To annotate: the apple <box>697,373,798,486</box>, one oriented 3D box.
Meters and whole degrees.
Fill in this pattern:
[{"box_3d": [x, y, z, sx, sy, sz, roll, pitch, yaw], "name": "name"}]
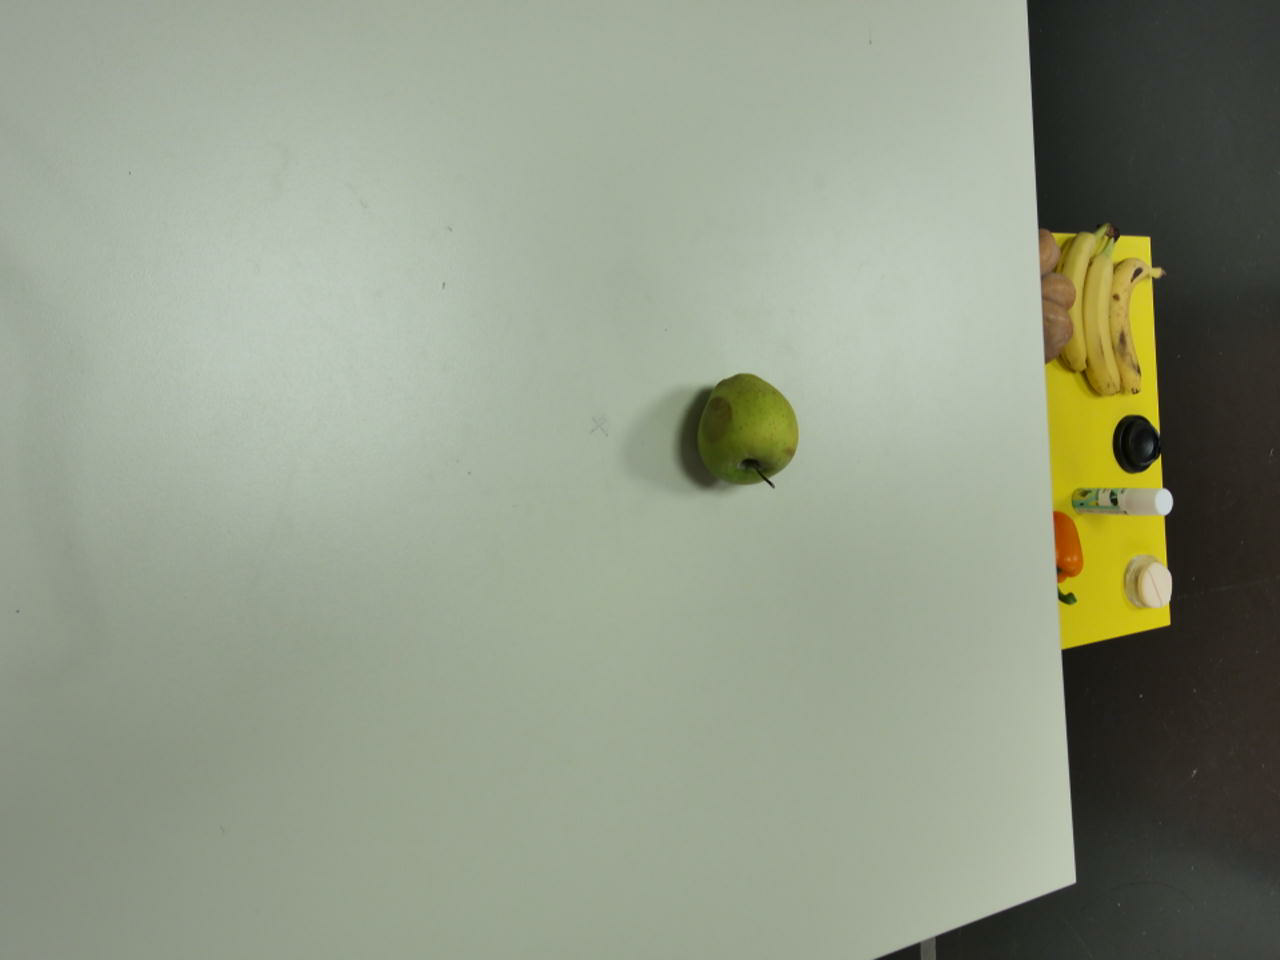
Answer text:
[{"box_3d": [0.078, -0.035, 0.712, 0.072, 0.075, 0.077, 44, 71, -21], "name": "apple"}]
